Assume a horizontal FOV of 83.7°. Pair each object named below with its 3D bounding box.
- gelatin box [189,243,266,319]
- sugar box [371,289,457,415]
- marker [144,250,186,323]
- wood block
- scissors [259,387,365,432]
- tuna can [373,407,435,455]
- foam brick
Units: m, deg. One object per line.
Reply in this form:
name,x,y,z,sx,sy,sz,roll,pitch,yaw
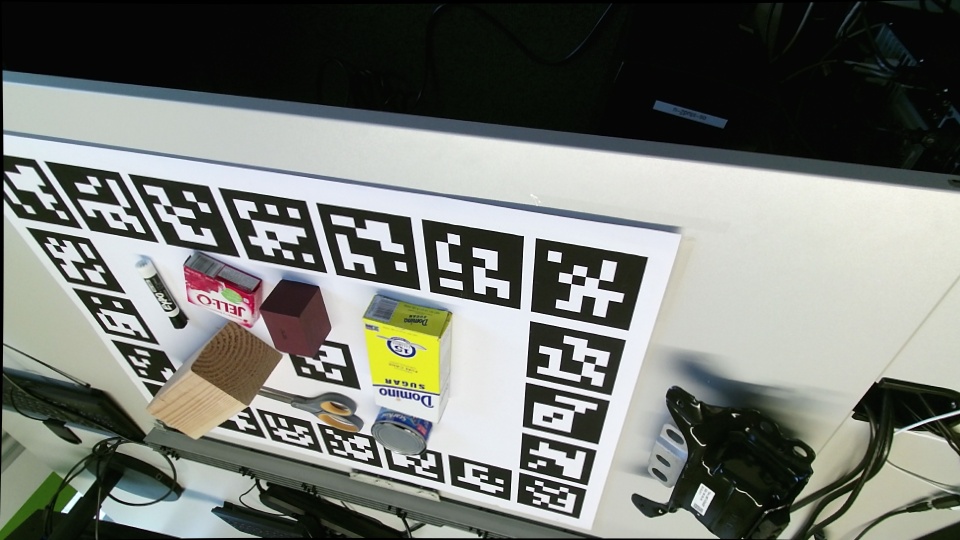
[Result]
gelatin box,-0.319,0.016,0.677,0.089,0.030,0.073,24,131,-2
sugar box,-0.083,0.107,0.668,0.093,0.045,0.176,14,132,8
marker,-0.425,0.026,0.726,0.020,0.019,0.121,11,129,10
wood block,-0.397,0.154,0.784,0.090,0.090,0.206,43,129,-19
scissors,-0.276,0.201,0.829,0.203,0.016,0.088,14,132,4
tuna can,-0.110,0.231,0.783,0.086,0.033,0.086,9,130,11
foam brick,-0.222,0.049,0.654,0.053,0.051,0.078,11,130,9
